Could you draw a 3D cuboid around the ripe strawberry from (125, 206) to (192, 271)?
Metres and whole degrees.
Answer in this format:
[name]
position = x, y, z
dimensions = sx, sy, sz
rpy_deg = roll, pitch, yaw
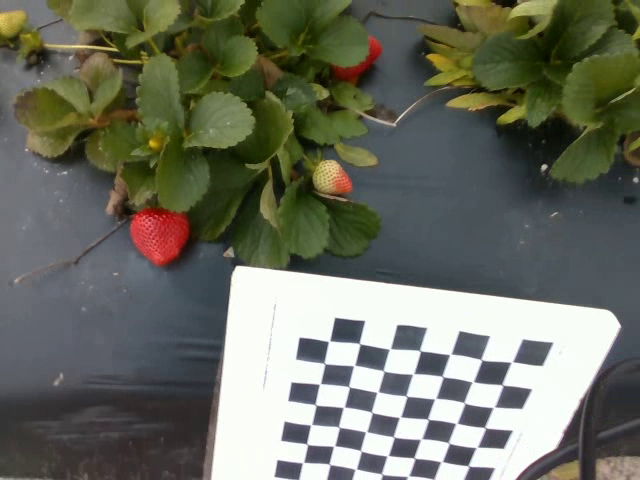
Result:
[ripe strawberry]
position = -0.102, -0.003, 0.440
dimensions = 0.037, 0.046, 0.036
rpy_deg = -33, -31, 25
